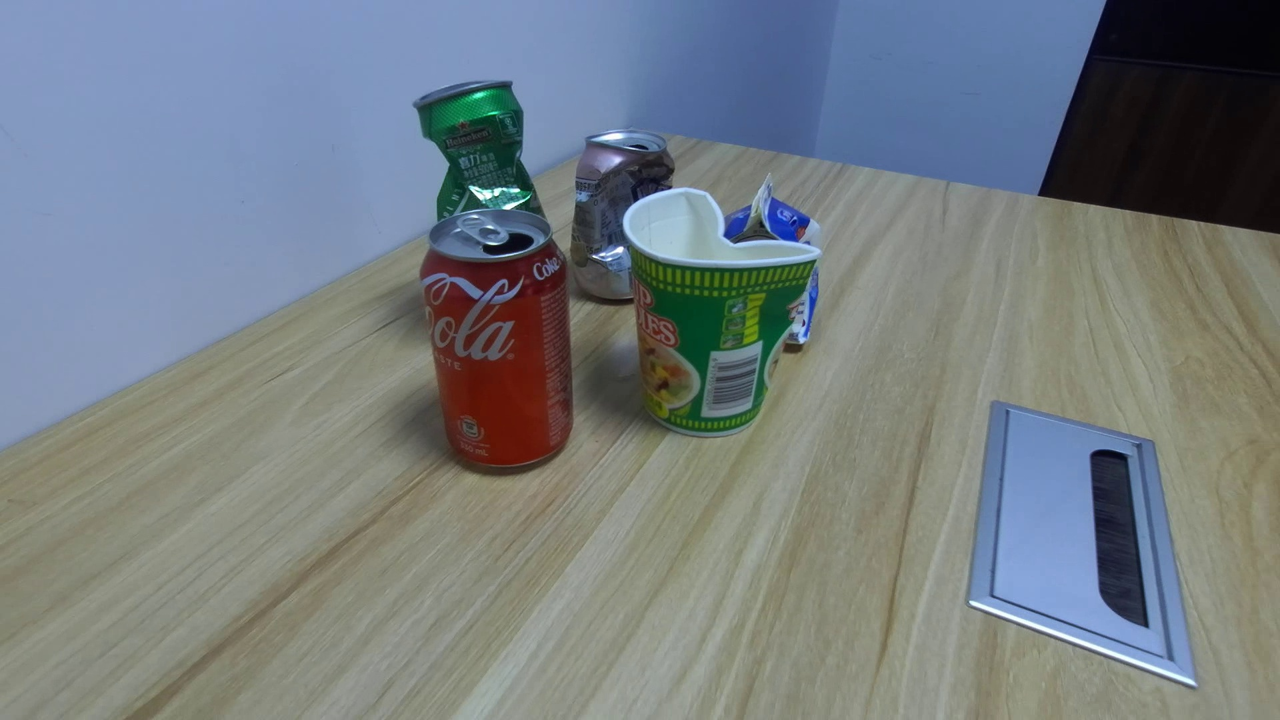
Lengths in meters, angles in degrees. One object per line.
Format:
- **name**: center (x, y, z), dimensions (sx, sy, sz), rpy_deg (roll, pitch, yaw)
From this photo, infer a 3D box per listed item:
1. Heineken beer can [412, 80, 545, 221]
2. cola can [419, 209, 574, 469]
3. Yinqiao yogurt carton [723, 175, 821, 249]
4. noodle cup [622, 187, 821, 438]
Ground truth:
- **Heineken beer can**: center (-0.086, -0.078, 0.413), dimensions (0.078, 0.159, 0.067), rpy_deg (9, 28, 26)
- **cola can**: center (-0.067, -0.008, 0.347), dimensions (0.068, 0.120, 0.068), rpy_deg (0, 31, 0)
- **Yinqiao yogurt carton**: center (0.078, -0.066, 0.455), dimensions (0.071, 0.094, 0.077), rpy_deg (4, 33, 17)
- **noodle cup**: center (0.033, -0.022, 0.374), dimensions (0.087, 0.109, 0.093), rpy_deg (-7, 34, -11)
